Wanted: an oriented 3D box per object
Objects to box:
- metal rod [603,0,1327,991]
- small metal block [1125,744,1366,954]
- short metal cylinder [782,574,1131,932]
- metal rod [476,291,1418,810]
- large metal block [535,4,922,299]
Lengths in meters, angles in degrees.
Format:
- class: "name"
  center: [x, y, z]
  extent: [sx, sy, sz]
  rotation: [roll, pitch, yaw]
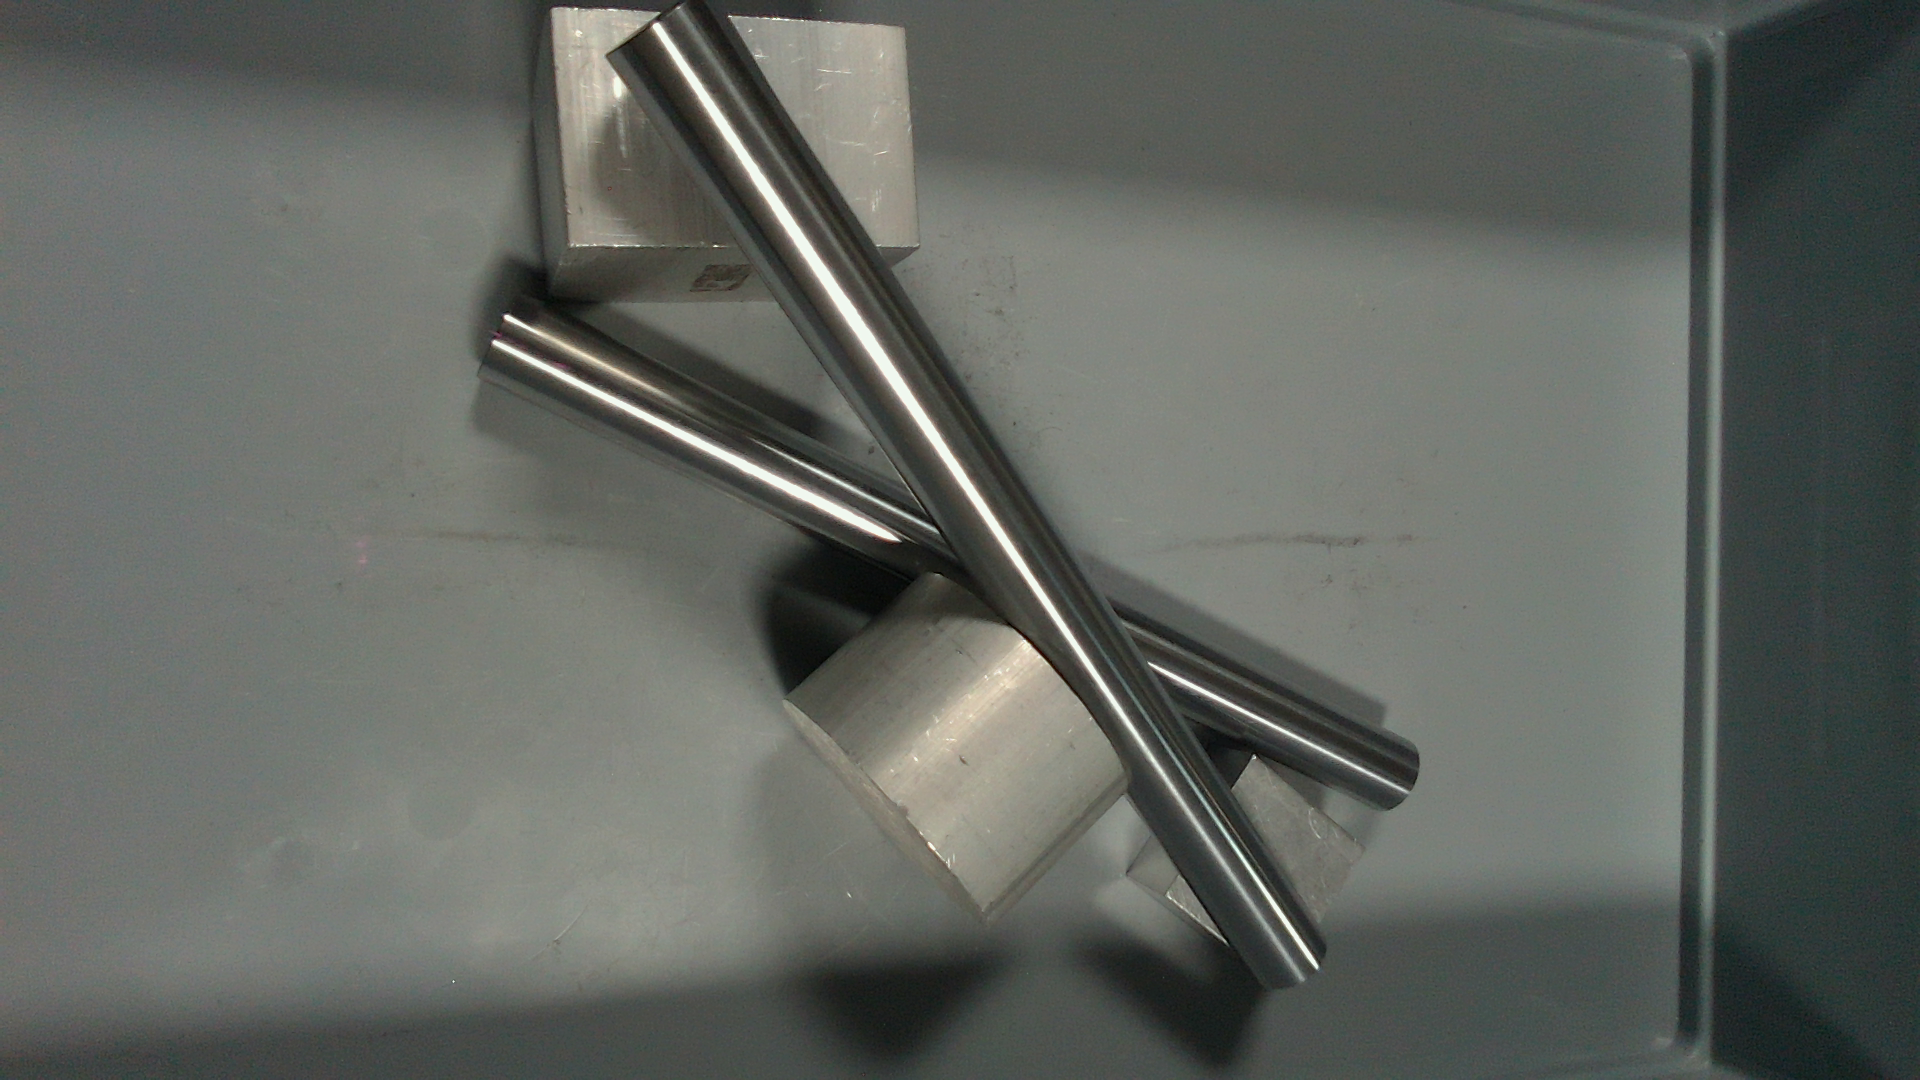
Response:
- class: "metal rod"
  center: [0.017, 0.008, 0.337]
  extent: [0.025, 0.025, 0.301]
  rotation: [-42, 116, -15]
- class: "small metal block"
  center: [0.088, 0.100, 0.425]
  extent: [0.050, 0.025, 0.050]
  rotation: [40, 77, -16]
- class: "short metal cylinder"
  center: [-0.002, 0.056, 0.362]
  extent: [0.050, 0.080, 0.080]
  rotation: [-42, 103, -15]
- class: "metal rod"
  center: [0.010, 0.011, 0.396]
  extent: [0.301, 0.025, 0.025]
  rotation: [26, 81, -18]
- class: "large metal block"
  center: [-0.061, -0.091, 0.341]
  extent: [0.080, 0.080, 0.050]
  rotation: [-4, 91, -20]
